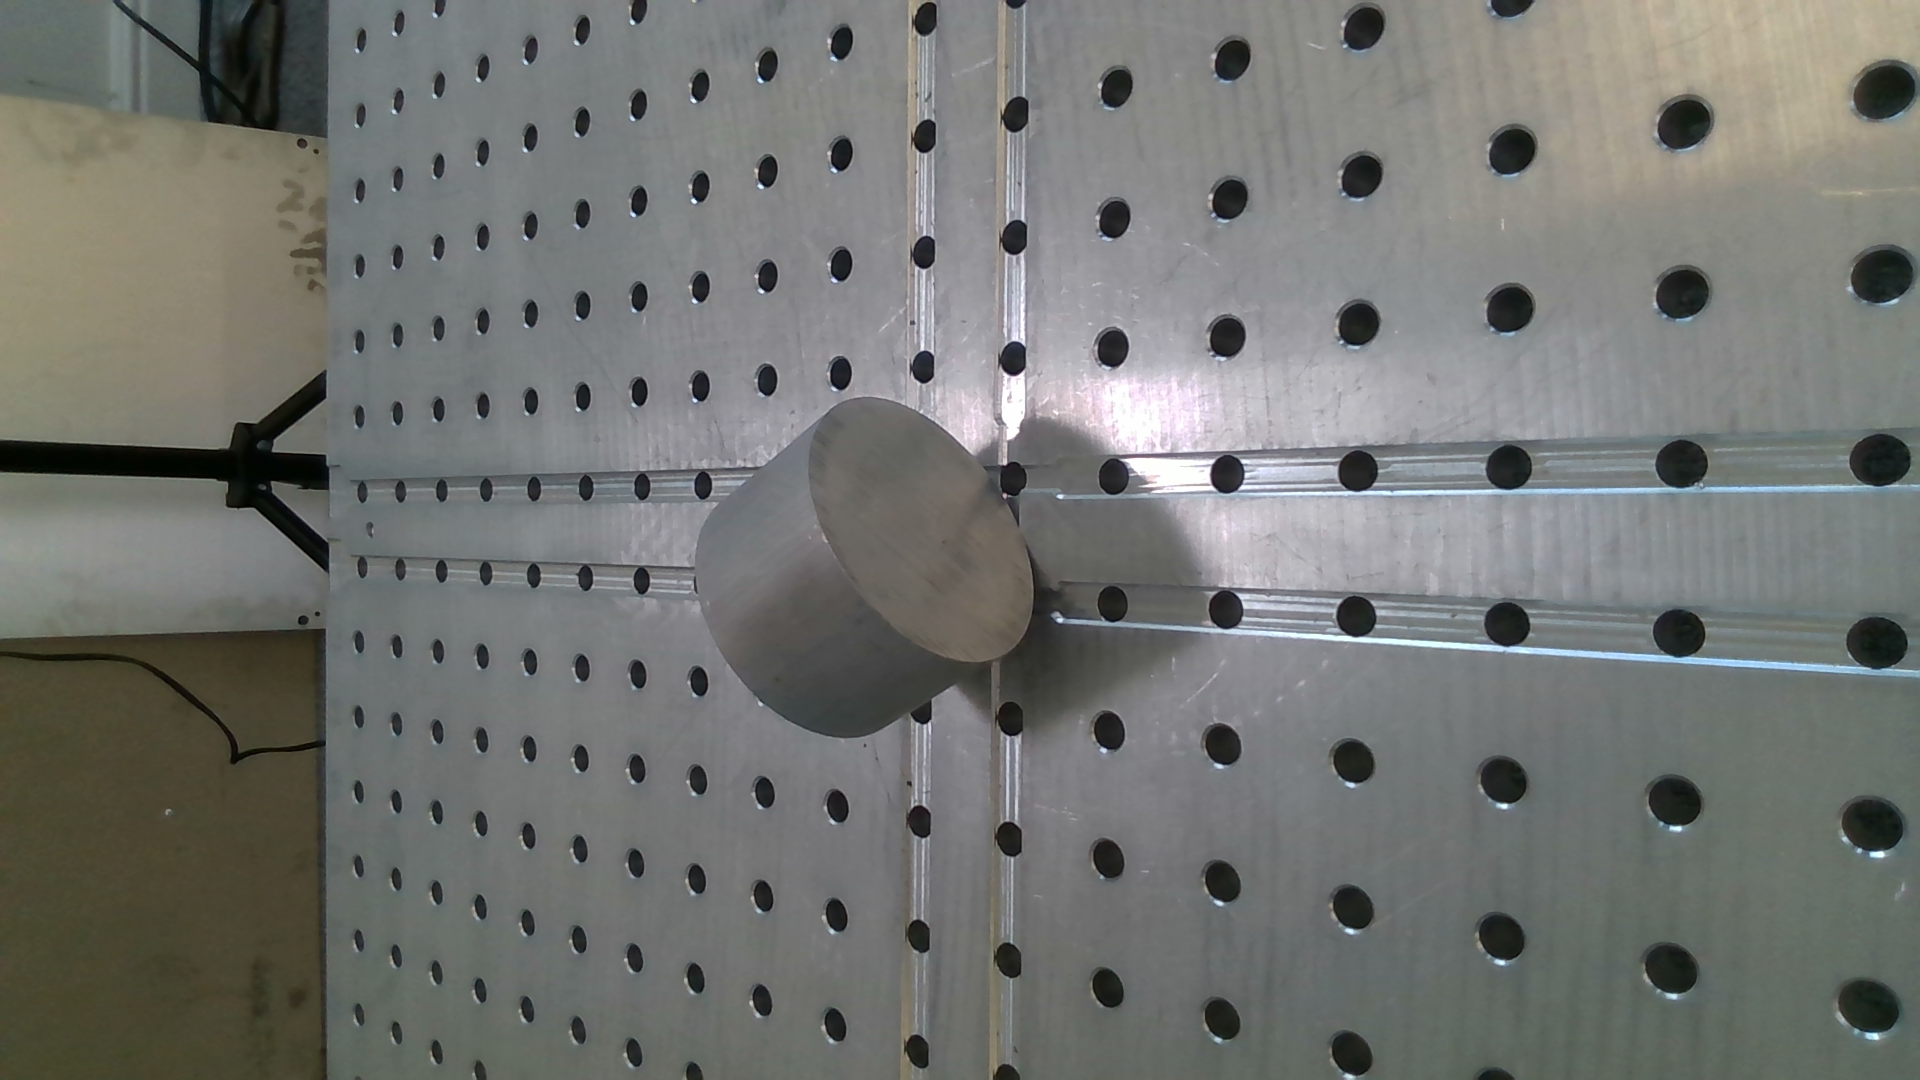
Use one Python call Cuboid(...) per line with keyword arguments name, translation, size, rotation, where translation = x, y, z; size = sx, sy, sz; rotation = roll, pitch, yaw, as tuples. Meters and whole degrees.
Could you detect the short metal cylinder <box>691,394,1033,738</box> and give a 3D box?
Cuboid(name="short metal cylinder", translation=(-0.026, 0.007, 0.379), size=(0.050, 0.080, 0.080), rotation=(-35, 69, 34))
